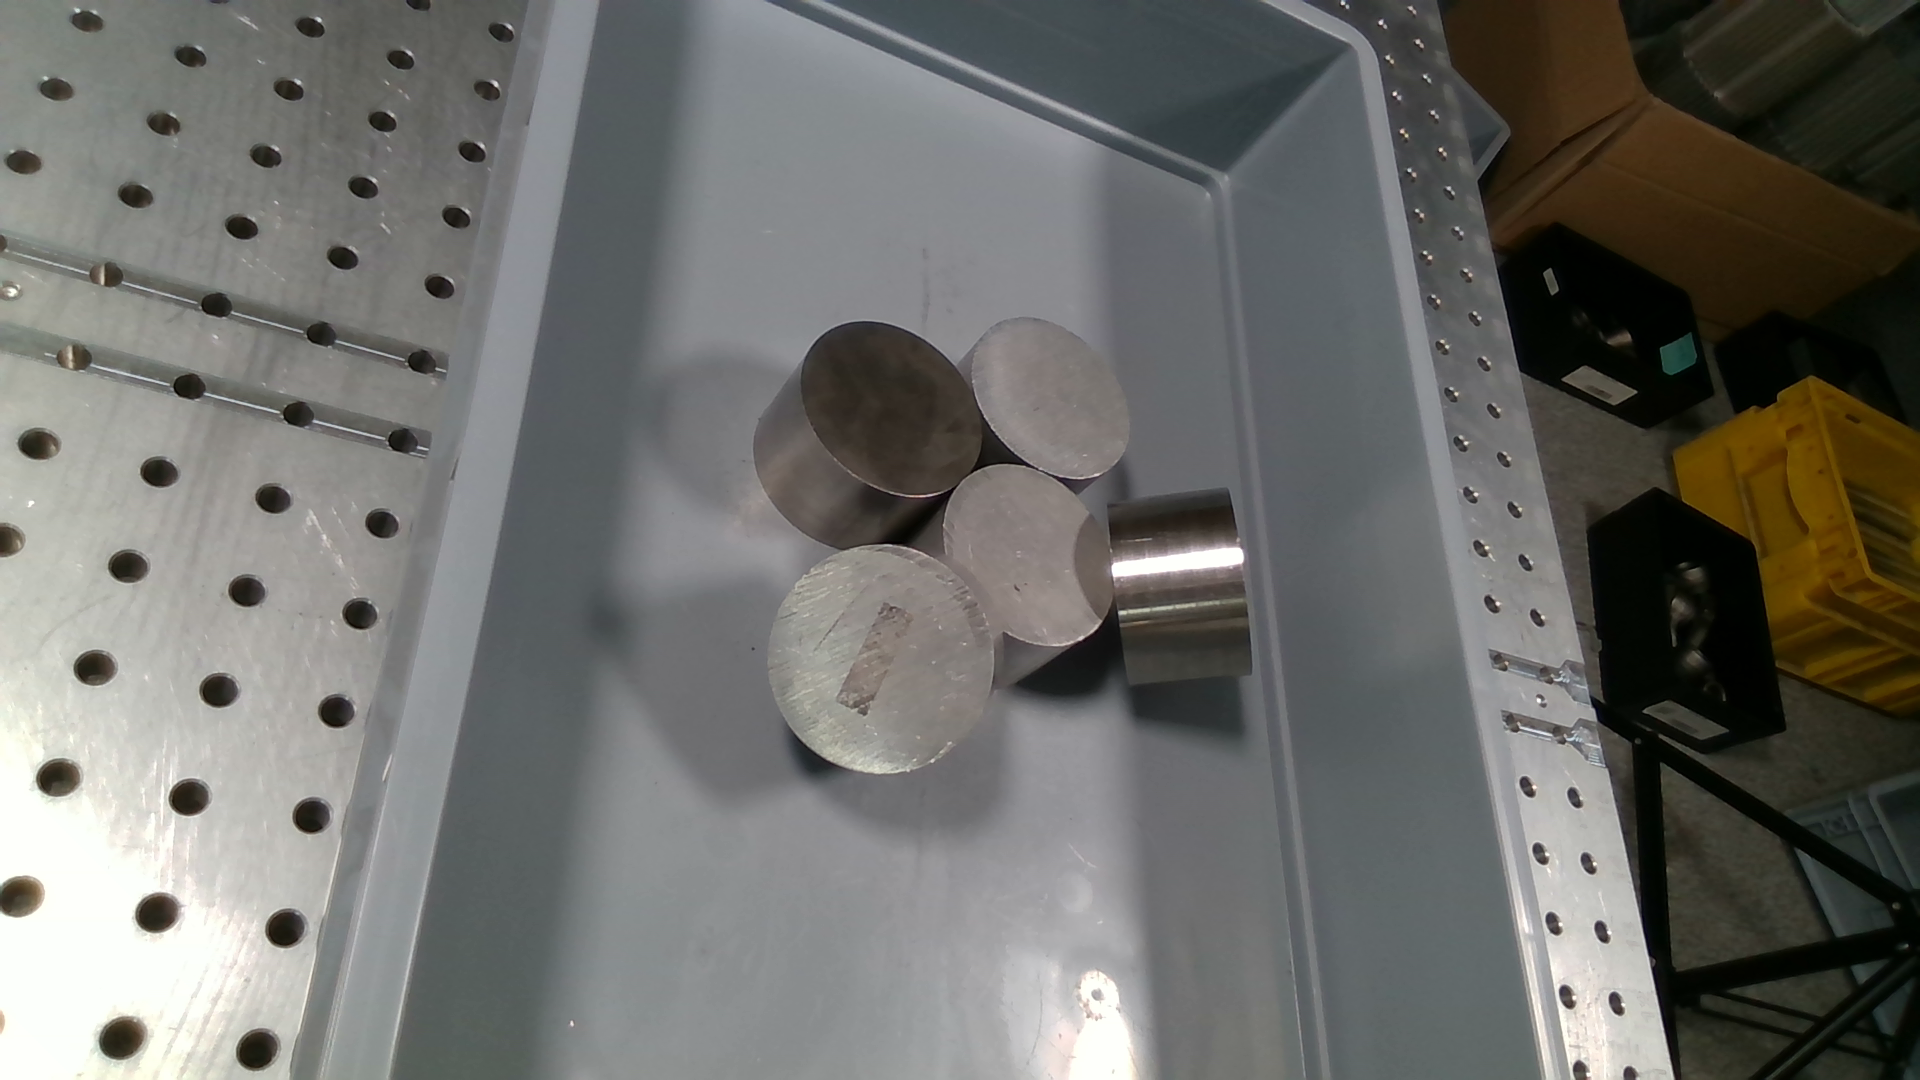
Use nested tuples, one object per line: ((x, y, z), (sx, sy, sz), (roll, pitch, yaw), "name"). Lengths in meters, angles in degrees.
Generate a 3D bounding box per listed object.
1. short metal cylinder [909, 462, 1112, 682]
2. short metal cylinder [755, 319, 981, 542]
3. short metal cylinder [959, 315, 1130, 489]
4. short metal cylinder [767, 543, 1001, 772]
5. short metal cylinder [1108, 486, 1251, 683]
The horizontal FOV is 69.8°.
((0.017, 0.015, 0.570), (0.080, 0.050, 0.080), (14, 59, -25), "short metal cylinder")
((-0.038, -0.043, 0.568), (0.080, 0.050, 0.080), (14, 59, -25), "short metal cylinder")
((0.028, -0.053, 0.613), (0.080, 0.050, 0.080), (14, 59, -25), "short metal cylinder")
((-0.025, 0.041, 0.504), (0.080, 0.050, 0.080), (0, 91, 6), "short metal cylinder")
((0.093, 0.020, 0.586), (0.050, 0.080, 0.080), (-7, 63, 8), "short metal cylinder")
